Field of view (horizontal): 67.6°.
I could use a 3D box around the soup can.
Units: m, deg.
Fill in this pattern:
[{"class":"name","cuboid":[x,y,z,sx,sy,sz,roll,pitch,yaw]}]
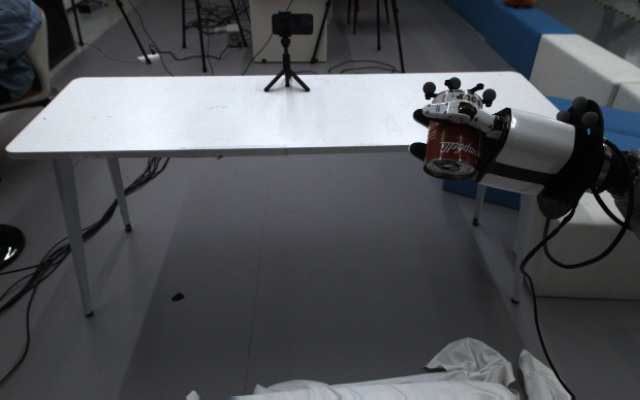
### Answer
[{"class":"soup can","cuboid":[0.177,-0.086,0.635,0.067,0.067,0.101,8,72,9]}]
